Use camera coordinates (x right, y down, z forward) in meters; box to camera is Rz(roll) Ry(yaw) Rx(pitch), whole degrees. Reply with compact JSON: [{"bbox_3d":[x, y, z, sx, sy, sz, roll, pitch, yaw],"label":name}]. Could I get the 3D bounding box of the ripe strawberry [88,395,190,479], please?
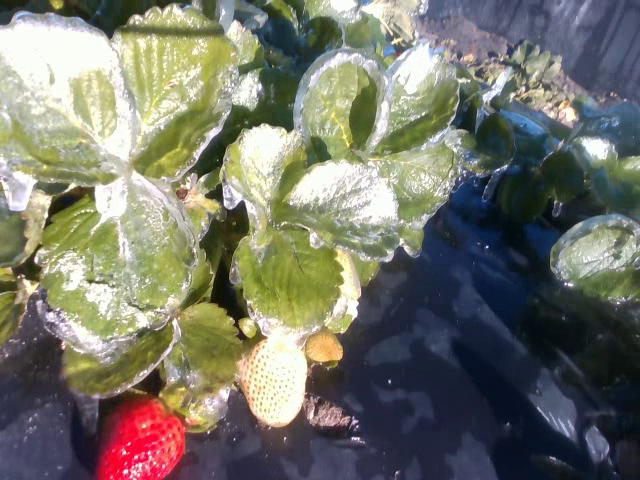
[{"bbox_3d":[-0.082,0.094,0.255,0.041,0.052,0.040,24,-27,8],"label":"ripe strawberry"}]
